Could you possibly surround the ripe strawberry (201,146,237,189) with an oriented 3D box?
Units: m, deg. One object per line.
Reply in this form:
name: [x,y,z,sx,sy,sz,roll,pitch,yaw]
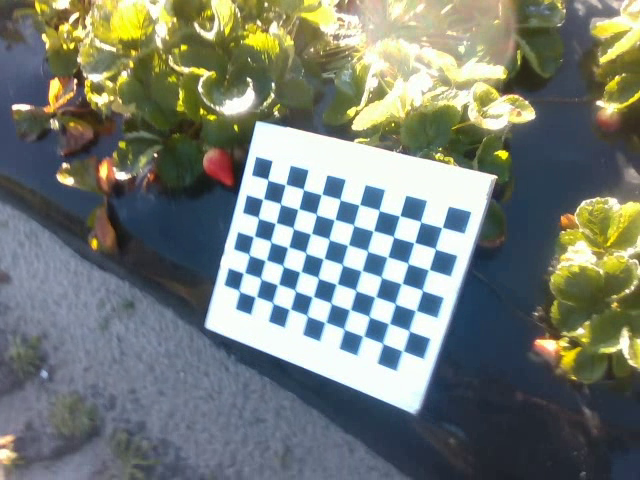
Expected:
ripe strawberry: [-0.143,-0.099,0.773,0.040,0.065,0.040,-34,-11,16]
